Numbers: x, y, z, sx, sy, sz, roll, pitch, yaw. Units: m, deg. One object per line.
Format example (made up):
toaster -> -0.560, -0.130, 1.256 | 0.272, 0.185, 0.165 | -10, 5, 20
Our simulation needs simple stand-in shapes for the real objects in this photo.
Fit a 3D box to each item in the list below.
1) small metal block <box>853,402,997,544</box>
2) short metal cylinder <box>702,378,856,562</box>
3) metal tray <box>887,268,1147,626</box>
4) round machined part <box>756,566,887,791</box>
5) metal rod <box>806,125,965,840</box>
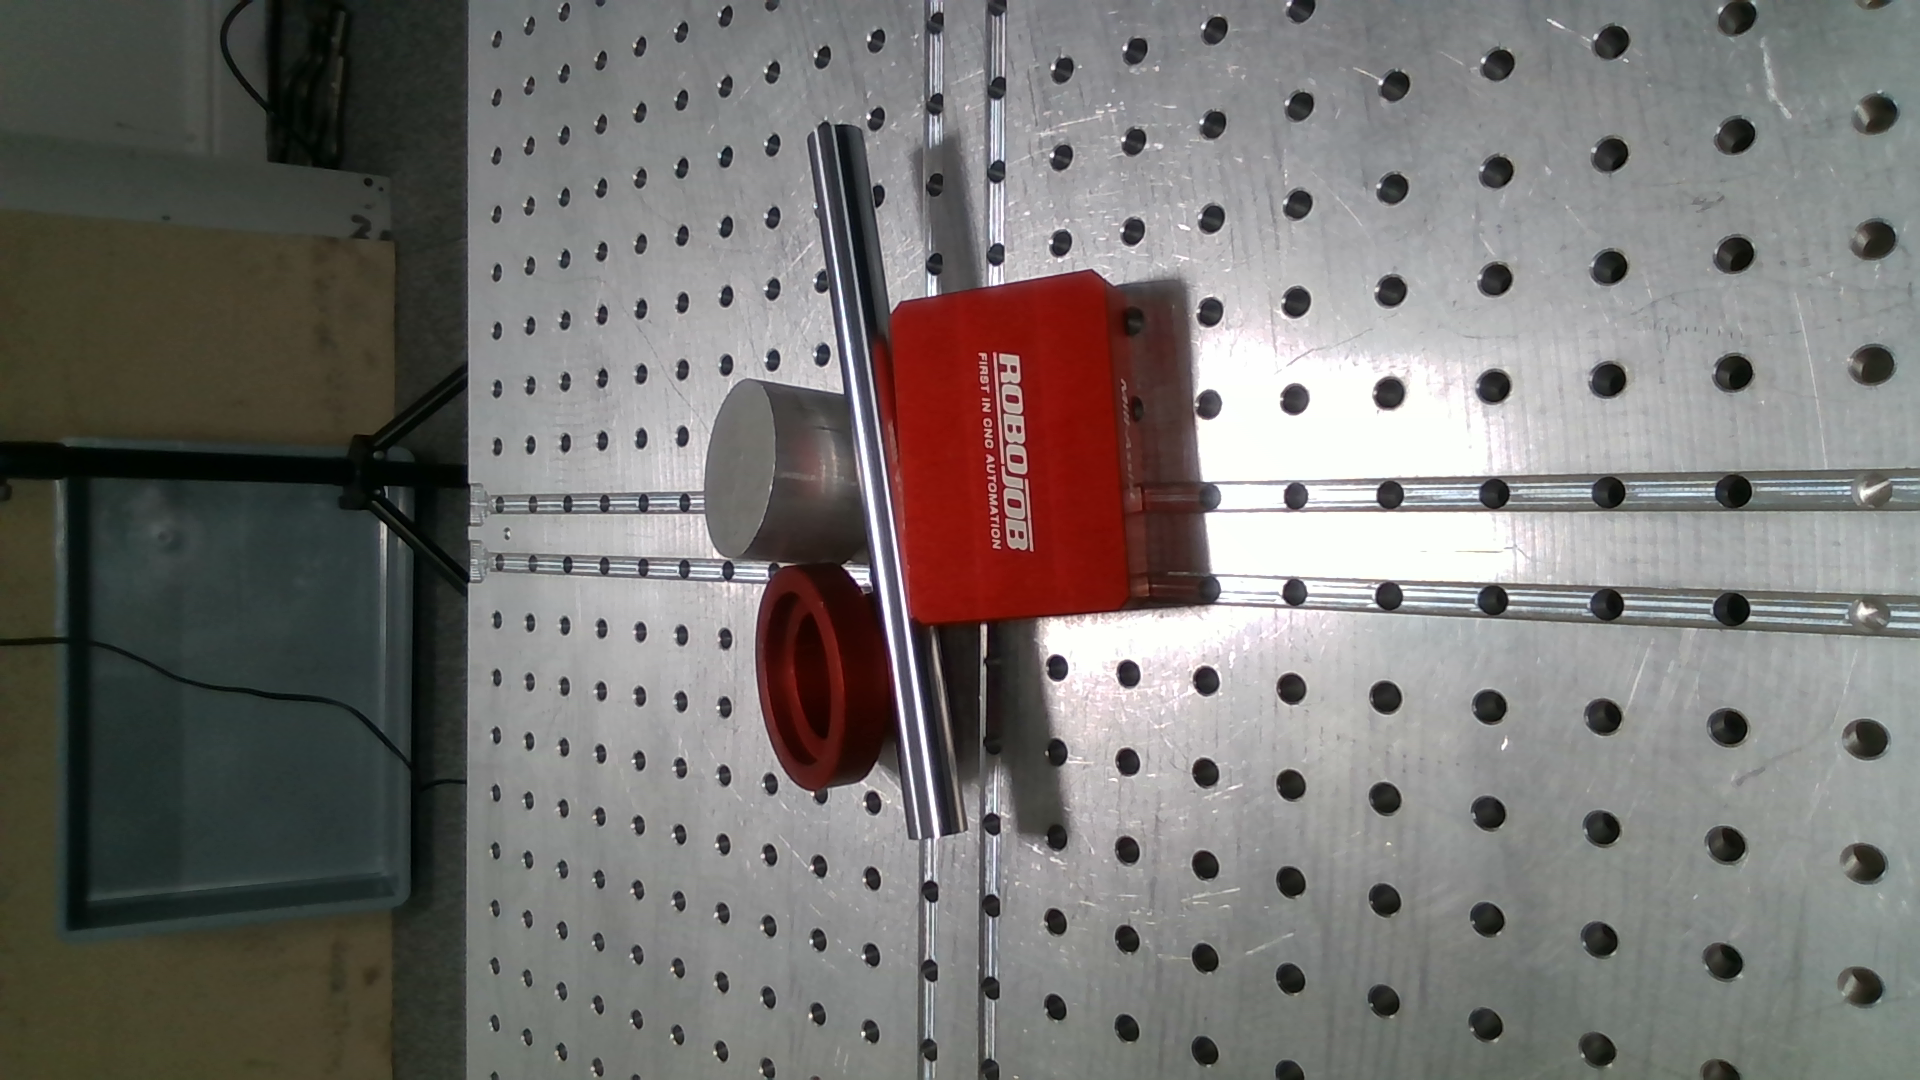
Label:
small metal block -> -0.016, -0.030, 0.609 | 0.050, 0.025, 0.050 | 23, 105, 38
short metal cylinder -> -0.077, -0.029, 0.618 | 0.080, 0.050, 0.080 | -15, 72, 57
metal tray -> 0.022, -0.034, 0.544 | 0.090, 0.030, 0.130 | -5, 87, 21
round machined part -> -0.054, 0.059, 0.605 | 0.098, 0.042, 0.098 | 15, 107, 61
metal rod -> -0.032, -0.027, 0.578 | 0.025, 0.025, 0.300 | -14, 81, 39
